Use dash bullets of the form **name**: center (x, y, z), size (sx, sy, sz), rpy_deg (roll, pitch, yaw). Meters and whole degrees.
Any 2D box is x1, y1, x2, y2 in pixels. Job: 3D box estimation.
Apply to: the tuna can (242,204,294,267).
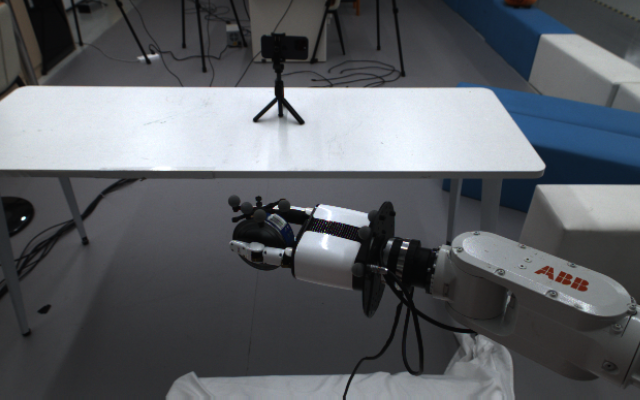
- **tuna can**: center (-0.080, 0.057, 0.702), size (0.085, 0.085, 0.034), rpy_deg (14, 29, 17)
